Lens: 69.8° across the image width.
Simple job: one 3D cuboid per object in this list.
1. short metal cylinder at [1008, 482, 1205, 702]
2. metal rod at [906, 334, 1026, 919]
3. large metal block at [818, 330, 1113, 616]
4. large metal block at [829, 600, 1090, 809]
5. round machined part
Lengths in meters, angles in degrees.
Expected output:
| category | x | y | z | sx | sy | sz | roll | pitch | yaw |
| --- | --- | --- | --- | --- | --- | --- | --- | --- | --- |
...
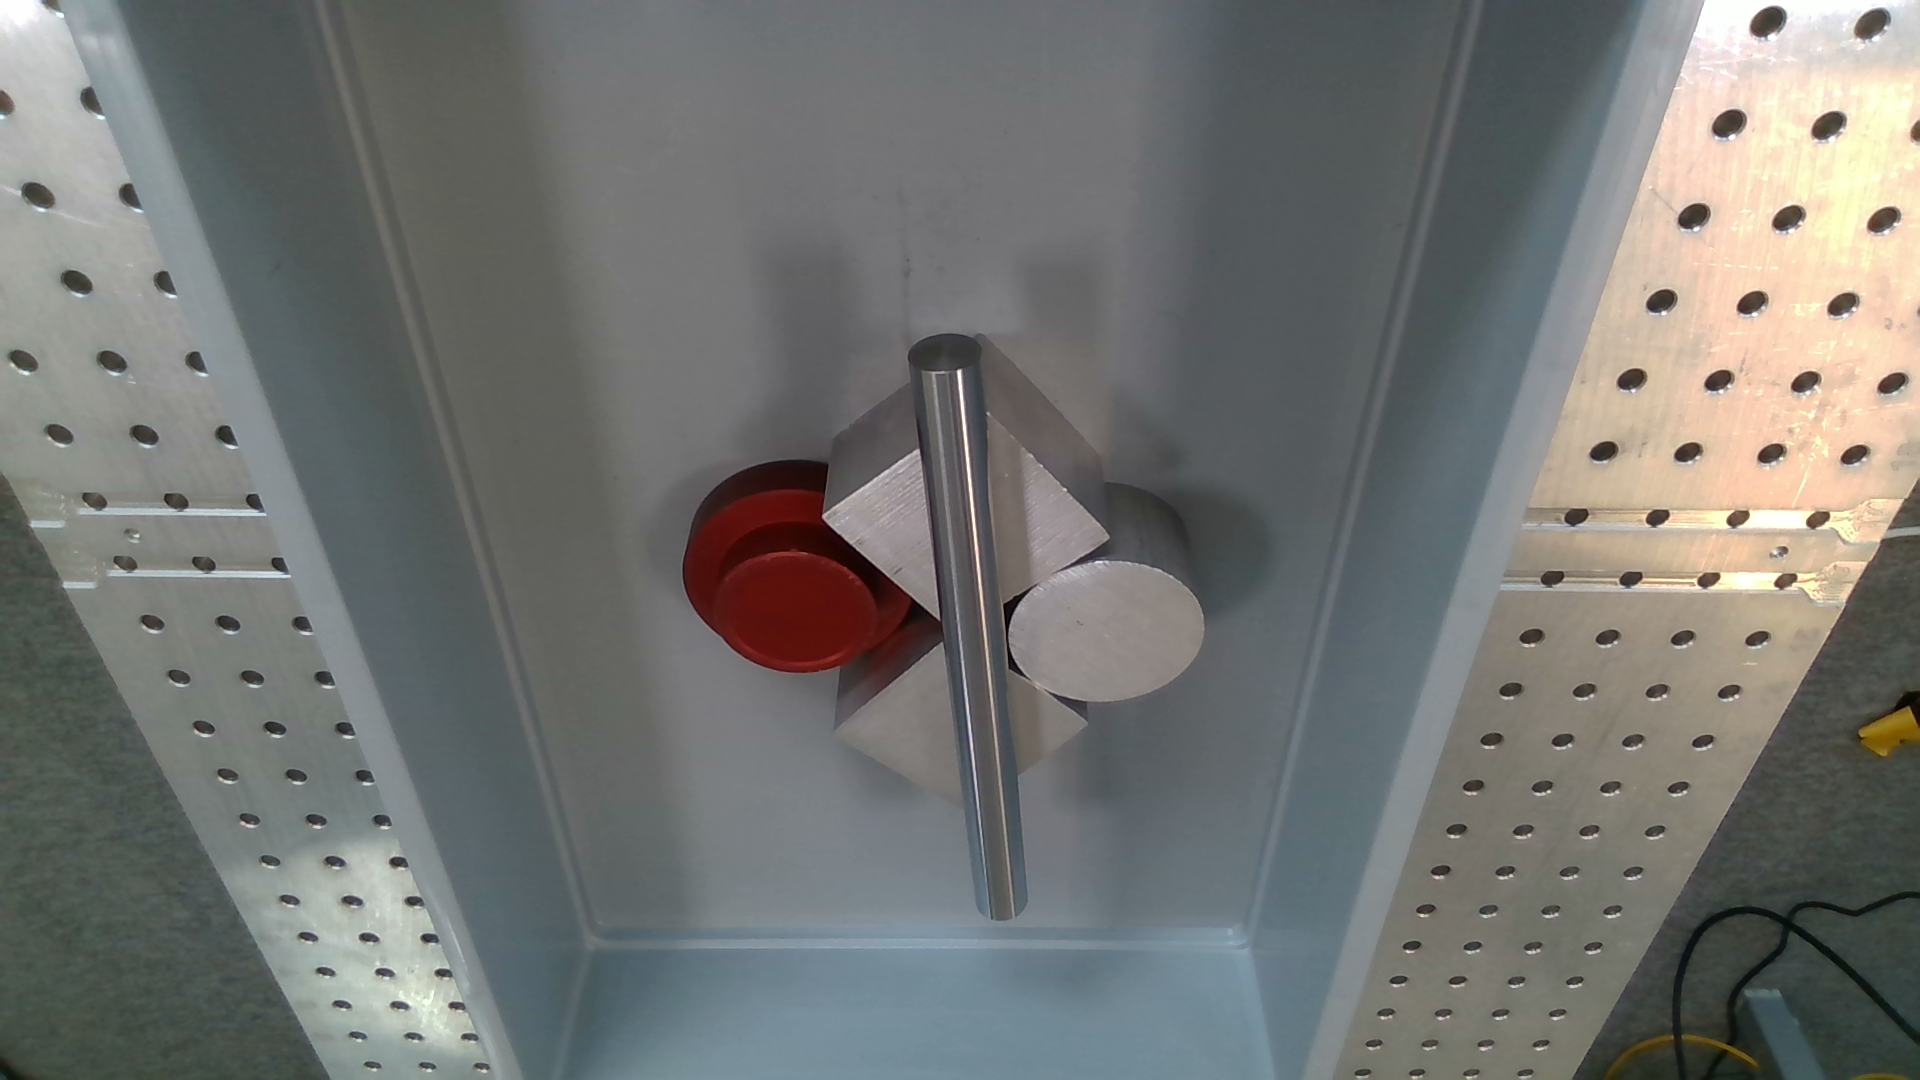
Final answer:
| category | x | y | z | sx | sy | sz | roll | pitch | yaw |
| --- | --- | --- | --- | --- | --- | --- | --- | --- | --- |
| short metal cylinder | 0.060 | 0.022 | 0.581 | 0.080 | 0.050 | 0.080 | 0 | 130 | 0 |
| metal rod | 0.007 | 0.053 | 0.555 | 0.025 | 0.025 | 0.301 | -4 | 129 | 3 |
| large metal block | 0.003 | -0.021 | 0.544 | 0.080 | 0.050 | 0.080 | -31 | 124 | 26 |
| large metal block | 0.000 | 0.066 | 0.614 | 0.080 | 0.050 | 0.080 | 35 | 122 | -25 |
| round machined part | -0.069 | 0.018 | 0.582 | 0.098 | 0.042 | 0.098 | 0 | 130 | 0 |
